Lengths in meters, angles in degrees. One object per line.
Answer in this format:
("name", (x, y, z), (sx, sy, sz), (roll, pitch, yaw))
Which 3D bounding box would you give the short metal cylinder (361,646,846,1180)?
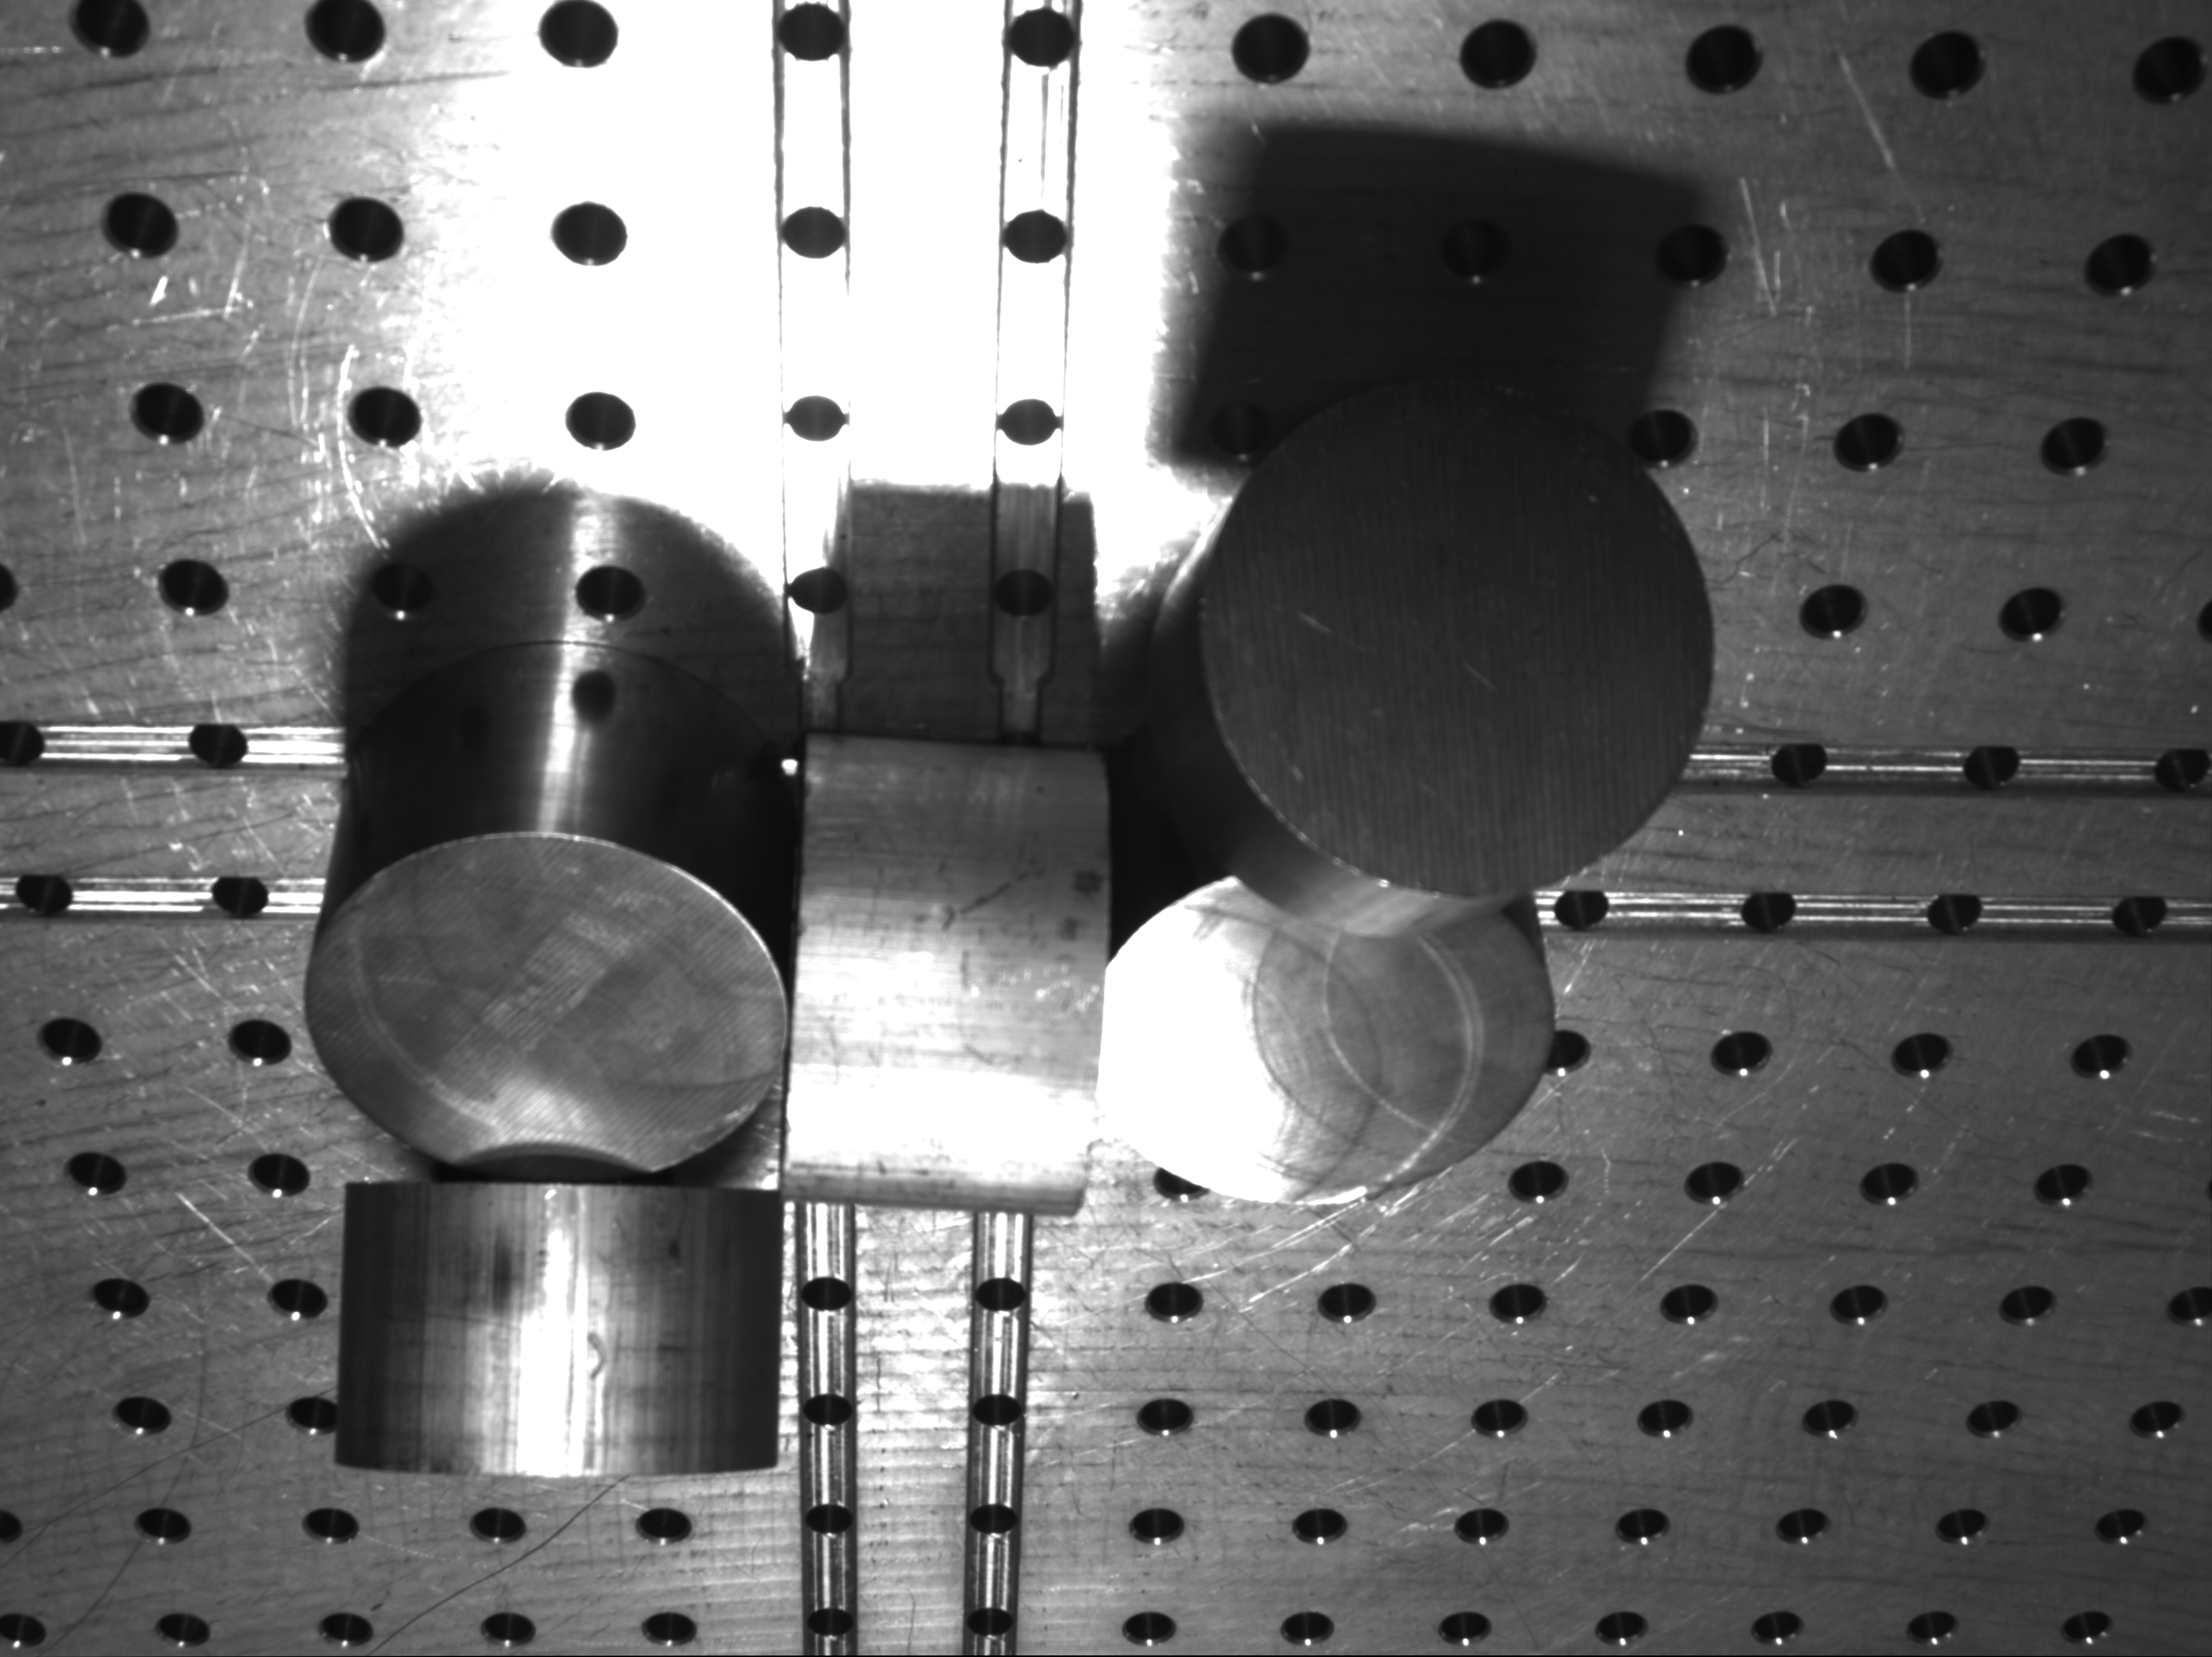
("short metal cylinder", (-0.085, 0.015, 0.634), (0.080, 0.050, 0.080), (-1, 130, -1))

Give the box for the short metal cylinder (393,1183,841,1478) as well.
("short metal cylinder", (-0.089, 0.091, 0.672), (0.080, 0.050, 0.080), (1, 174, 0))

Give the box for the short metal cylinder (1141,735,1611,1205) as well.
("short metal cylinder", (0.045, 0.020, 0.642), (0.080, 0.050, 0.080), (-1, 130, -1))

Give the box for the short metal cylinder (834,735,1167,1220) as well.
("short metal cylinder", (-0.019, 0.025, 0.626), (0.050, 0.080, 0.080), (4, 130, -5))

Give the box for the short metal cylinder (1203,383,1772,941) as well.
("short metal cylinder", (0.059, -0.025, 0.578), (0.080, 0.080, 0.050), (7, 171, -7))
